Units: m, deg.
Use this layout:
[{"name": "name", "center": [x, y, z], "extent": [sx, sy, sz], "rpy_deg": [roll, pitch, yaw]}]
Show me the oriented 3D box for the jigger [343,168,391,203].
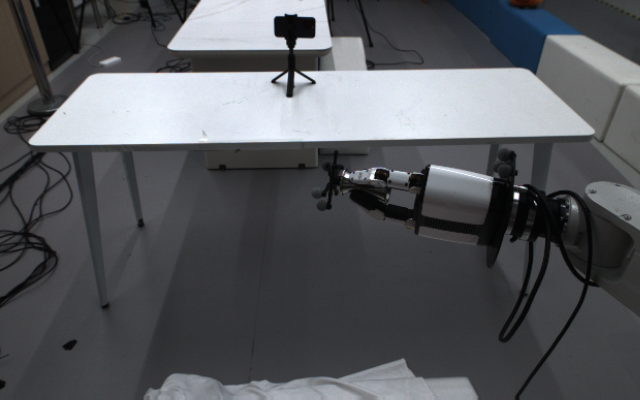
[{"name": "jigger", "center": [0.072, -0.027, 0.696], "extent": [0.071, 0.043, 0.043], "rpy_deg": [9, 35, 16]}]
